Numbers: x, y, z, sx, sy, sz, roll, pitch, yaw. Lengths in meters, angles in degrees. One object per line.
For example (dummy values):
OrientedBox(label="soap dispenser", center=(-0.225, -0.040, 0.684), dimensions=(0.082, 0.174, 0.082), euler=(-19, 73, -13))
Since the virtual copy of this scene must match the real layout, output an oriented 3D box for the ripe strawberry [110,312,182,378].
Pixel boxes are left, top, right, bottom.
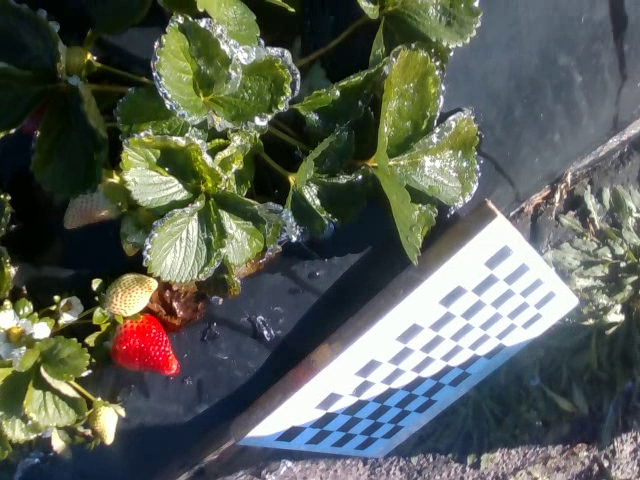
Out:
OrientedBox(label="ripe strawberry", center=(-0.108, 0.071, 0.413), dimensions=(0.053, 0.040, 0.042), euler=(31, 40, 19))
